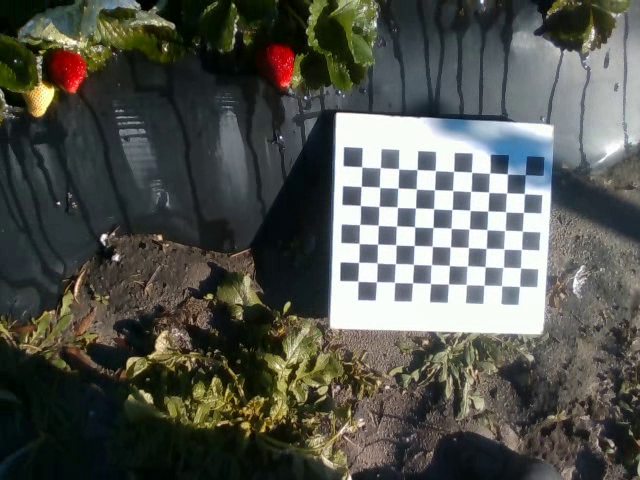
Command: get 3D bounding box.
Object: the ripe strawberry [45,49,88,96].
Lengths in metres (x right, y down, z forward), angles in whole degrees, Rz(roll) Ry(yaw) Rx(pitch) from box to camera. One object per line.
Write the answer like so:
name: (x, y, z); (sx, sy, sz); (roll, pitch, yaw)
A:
ripe strawberry: (-0.235, -0.153, 0.503); (0.037, 0.051, 0.040); (-12, -44, -5)

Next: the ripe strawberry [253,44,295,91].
ripe strawberry: (-0.040, -0.167, 0.522); (0.041, 0.053, 0.047); (-5, -35, -6)
